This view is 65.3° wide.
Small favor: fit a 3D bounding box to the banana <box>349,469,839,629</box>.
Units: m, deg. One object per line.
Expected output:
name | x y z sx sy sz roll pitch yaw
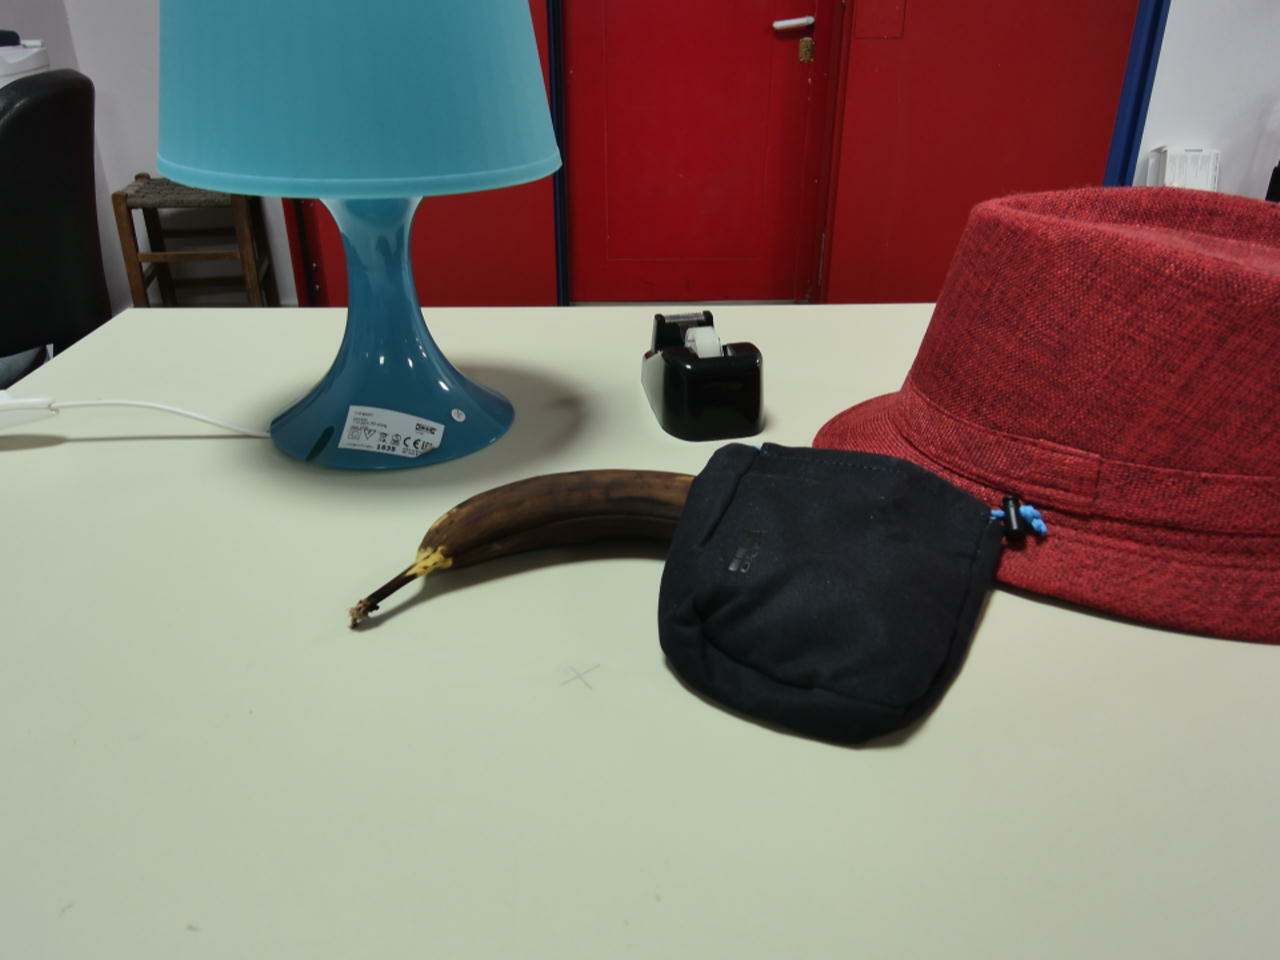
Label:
banana | -0.017 0.023 0.413 0.188 0.034 0.091 0 25 1
